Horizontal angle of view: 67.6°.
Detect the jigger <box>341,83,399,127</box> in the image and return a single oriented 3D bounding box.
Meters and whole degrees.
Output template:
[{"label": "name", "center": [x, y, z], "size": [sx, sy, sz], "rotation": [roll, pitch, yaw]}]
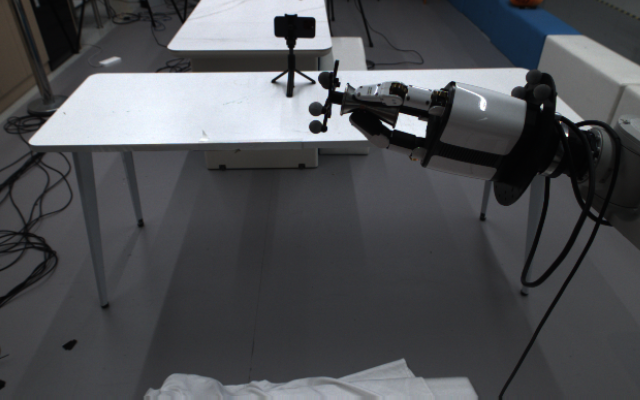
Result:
[{"label": "jigger", "center": [0.065, -0.121, 0.592], "size": [0.071, 0.043, 0.043], "rotation": [13, 36, 3]}]
